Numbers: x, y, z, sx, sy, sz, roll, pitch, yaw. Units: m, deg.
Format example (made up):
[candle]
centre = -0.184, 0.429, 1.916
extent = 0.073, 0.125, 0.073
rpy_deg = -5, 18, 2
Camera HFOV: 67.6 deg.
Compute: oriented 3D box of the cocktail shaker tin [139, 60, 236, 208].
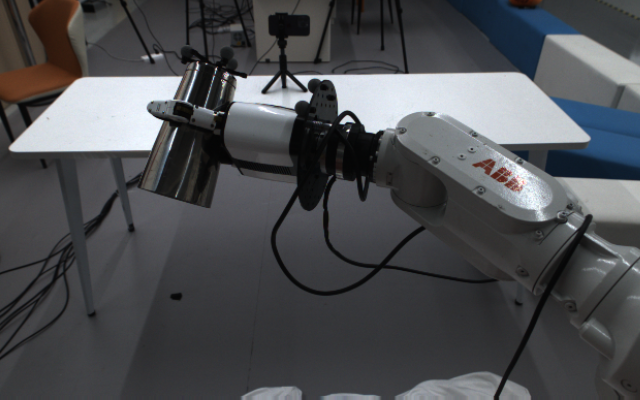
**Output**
[cocktail shaker tin]
centre = -0.164, -0.084, 0.618
extent = 0.093, 0.170, 0.093
rpy_deg = 16, -7, 2
